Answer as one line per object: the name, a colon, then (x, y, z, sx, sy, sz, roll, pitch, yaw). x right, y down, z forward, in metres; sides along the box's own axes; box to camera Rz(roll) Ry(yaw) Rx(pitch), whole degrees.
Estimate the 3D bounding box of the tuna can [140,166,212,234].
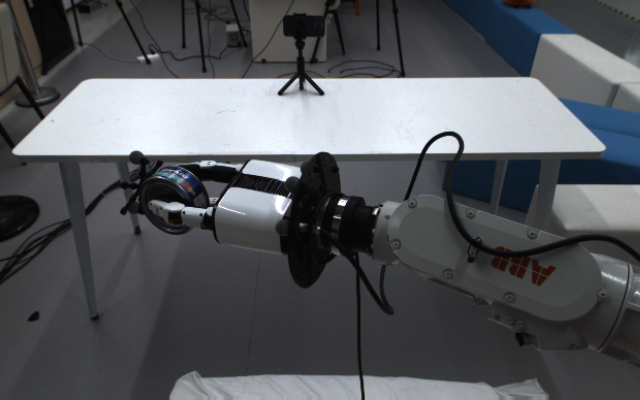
tuna can: (-0.184, 0.003, 0.617, 0.085, 0.085, 0.034, 12, 31, 13)
